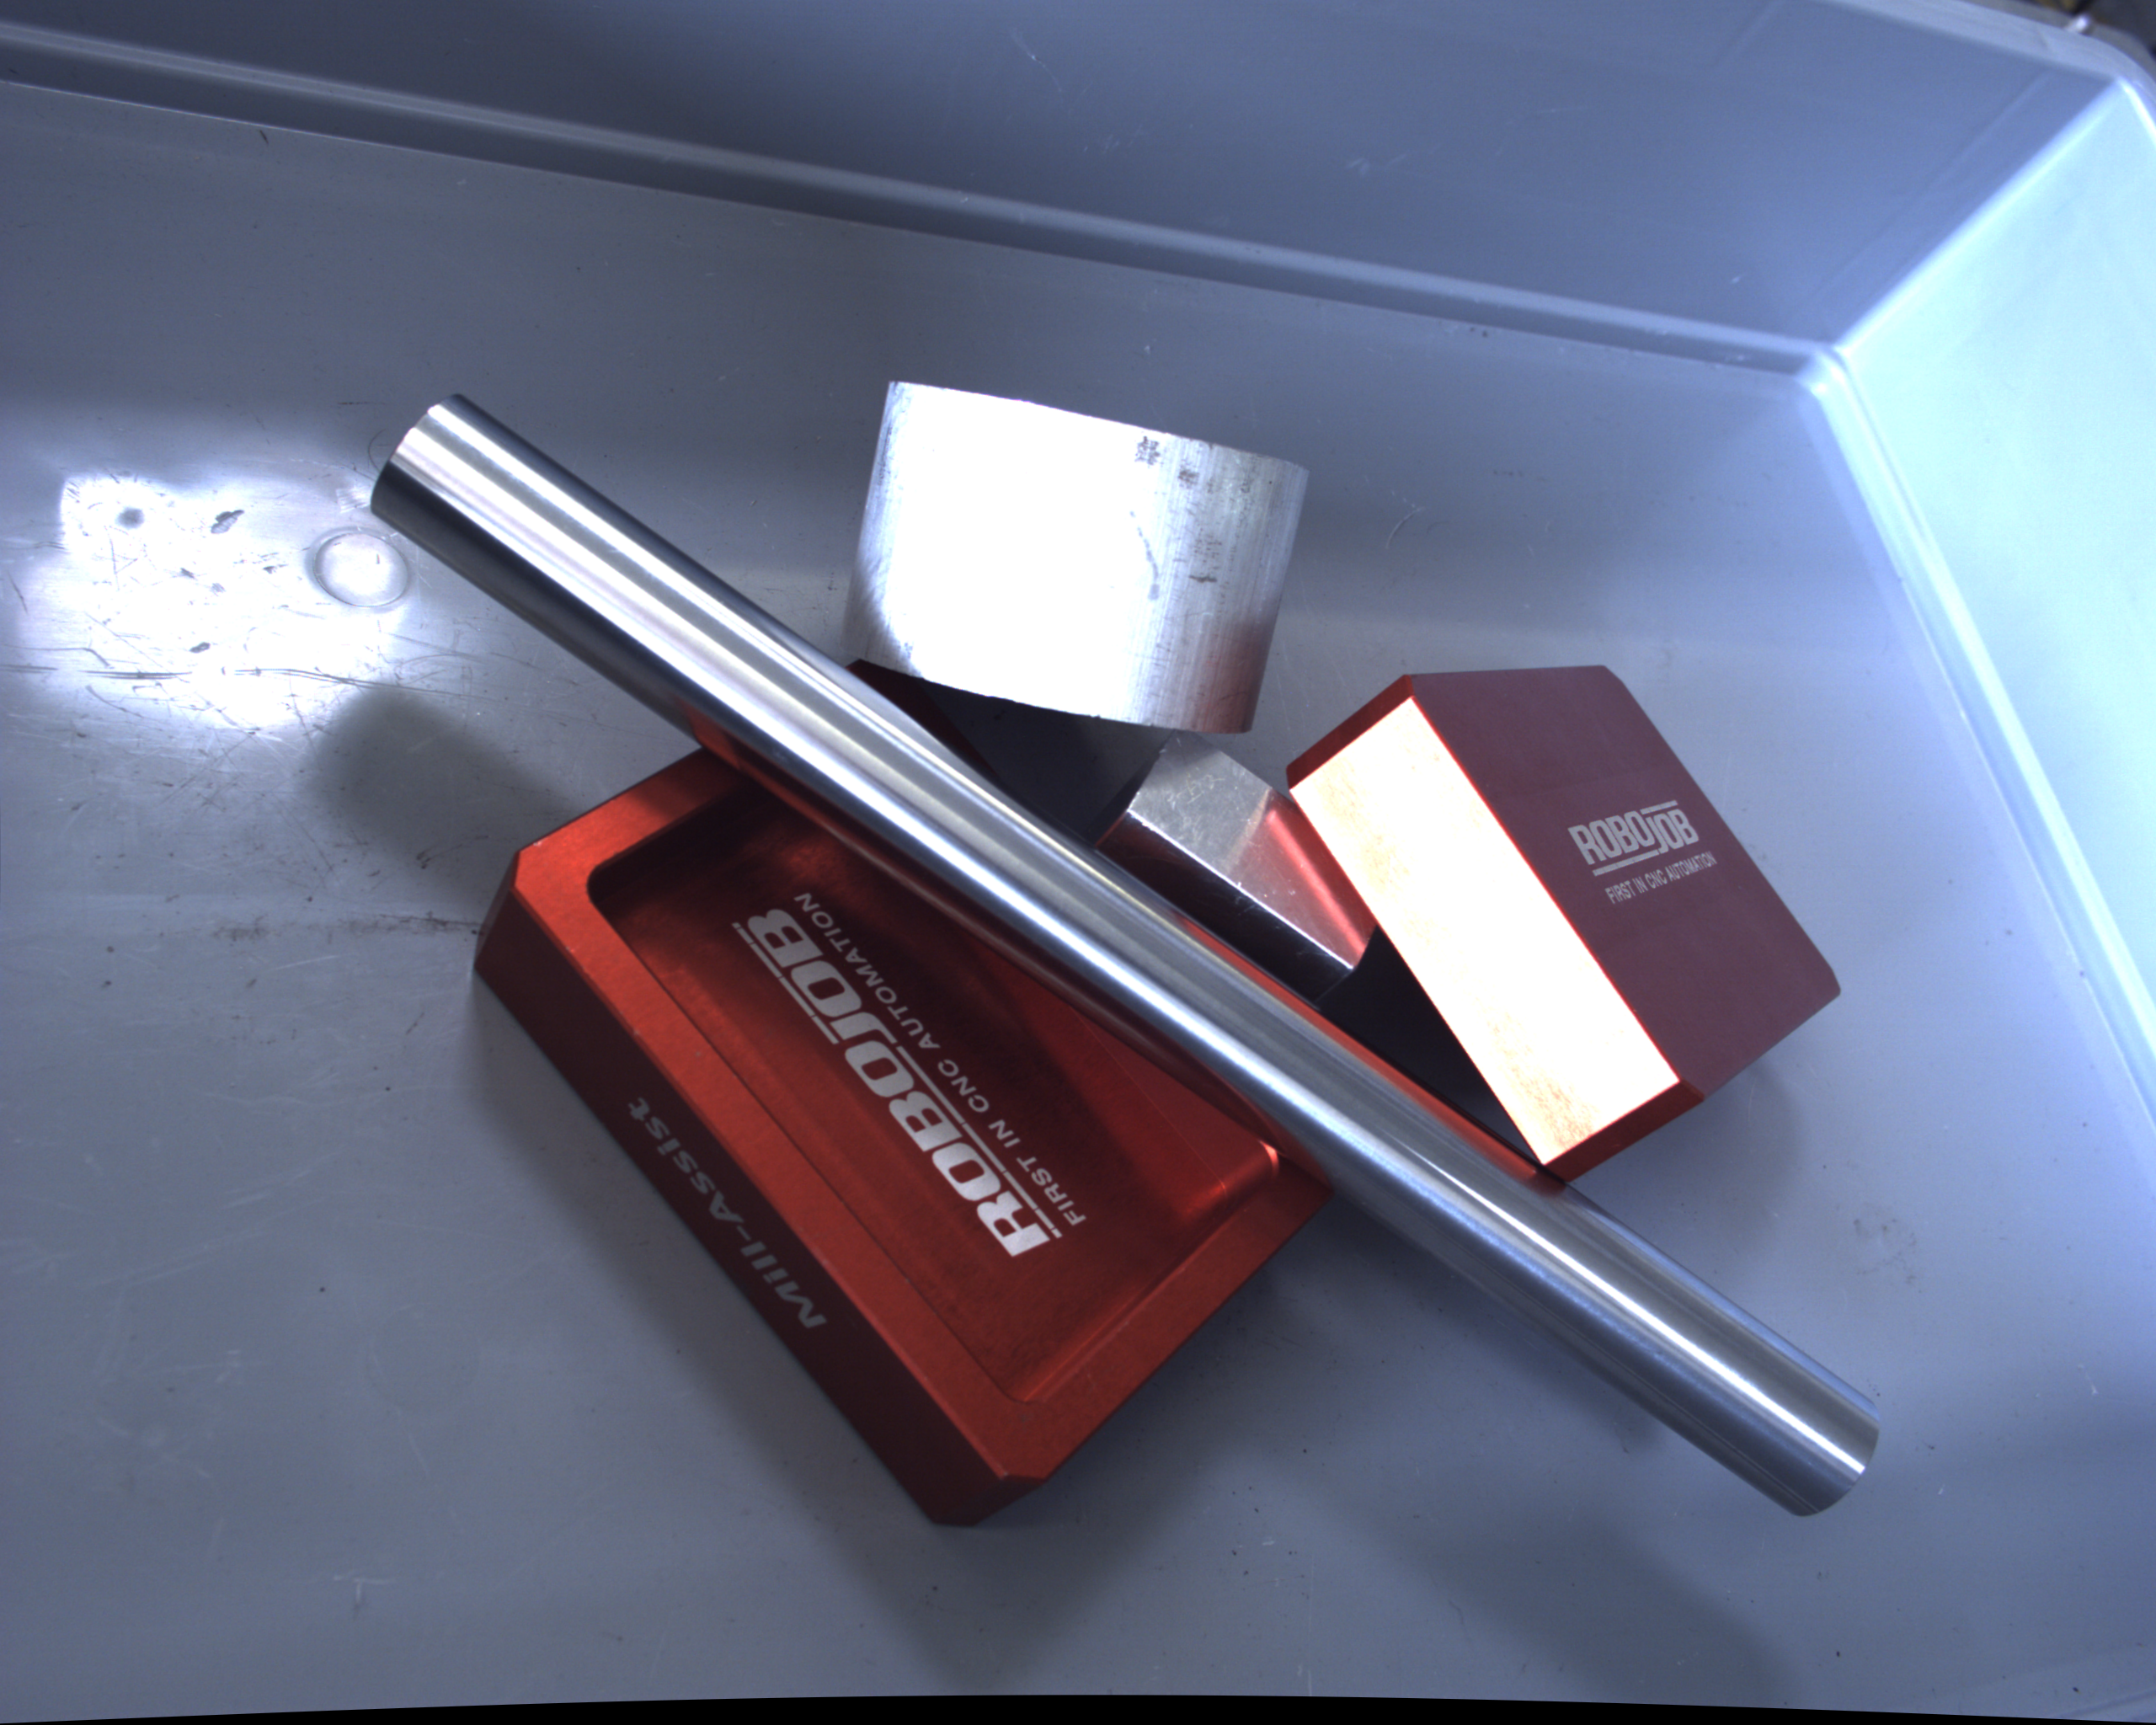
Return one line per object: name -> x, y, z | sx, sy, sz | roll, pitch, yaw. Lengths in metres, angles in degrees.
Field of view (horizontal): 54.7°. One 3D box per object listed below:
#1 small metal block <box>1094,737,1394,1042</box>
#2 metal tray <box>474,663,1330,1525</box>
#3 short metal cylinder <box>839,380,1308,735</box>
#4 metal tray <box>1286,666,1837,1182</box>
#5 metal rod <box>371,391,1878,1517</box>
small metal block -> 0.024, 0.008, 0.394 | 0.050, 0.050, 0.025 | 35, 51, -5
metal tray -> -0.028, 0.035, 0.363 | 0.130, 0.030, 0.091 | 49, 51, 6
short metal cylinder -> -0.001, -0.058, 0.395 | 0.081, 0.080, 0.050 | 8, 100, -24
metal tray -> 0.102, 0.005, 0.419 | 0.090, 0.030, 0.131 | 57, 28, 13
metal rod -> 0.012, 0.019, 0.360 | 0.301, 0.025, 0.025 | 36, 51, -5
